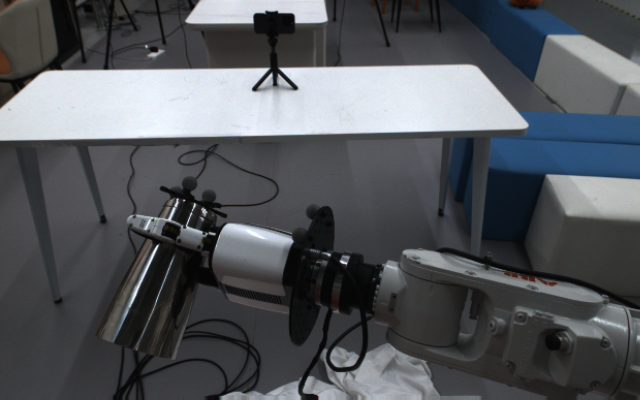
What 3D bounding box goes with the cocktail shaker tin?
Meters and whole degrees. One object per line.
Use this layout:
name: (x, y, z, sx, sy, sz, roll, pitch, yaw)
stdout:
cocktail shaker tin: (-0.181, 0.086, 0.568, 0.093, 0.093, 0.170, 13, 71, 16)
